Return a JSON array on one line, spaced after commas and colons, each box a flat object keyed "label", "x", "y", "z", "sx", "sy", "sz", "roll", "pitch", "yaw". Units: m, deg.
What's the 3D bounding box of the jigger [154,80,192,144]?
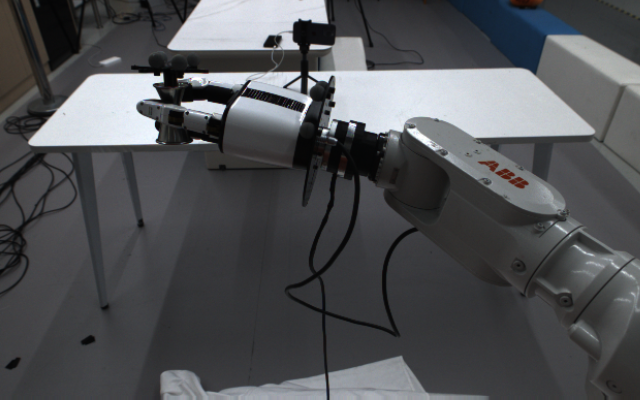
[{"label": "jigger", "x": -0.177, "y": -0.105, "z": 0.587, "sx": 0.043, "sy": 0.071, "sz": 0.043, "roll": 2, "pitch": 20, "yaw": -1}]
